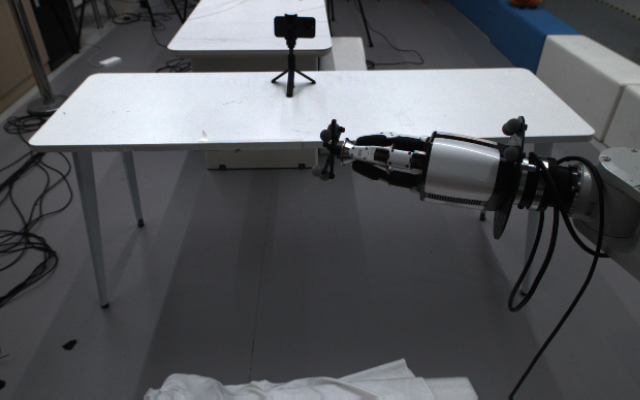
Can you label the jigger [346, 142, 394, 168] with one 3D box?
[{"bbox_3d":[0.072,-0.066,0.668,0.071,0.043,0.043,10,35,16],"label":"jigger"}]
